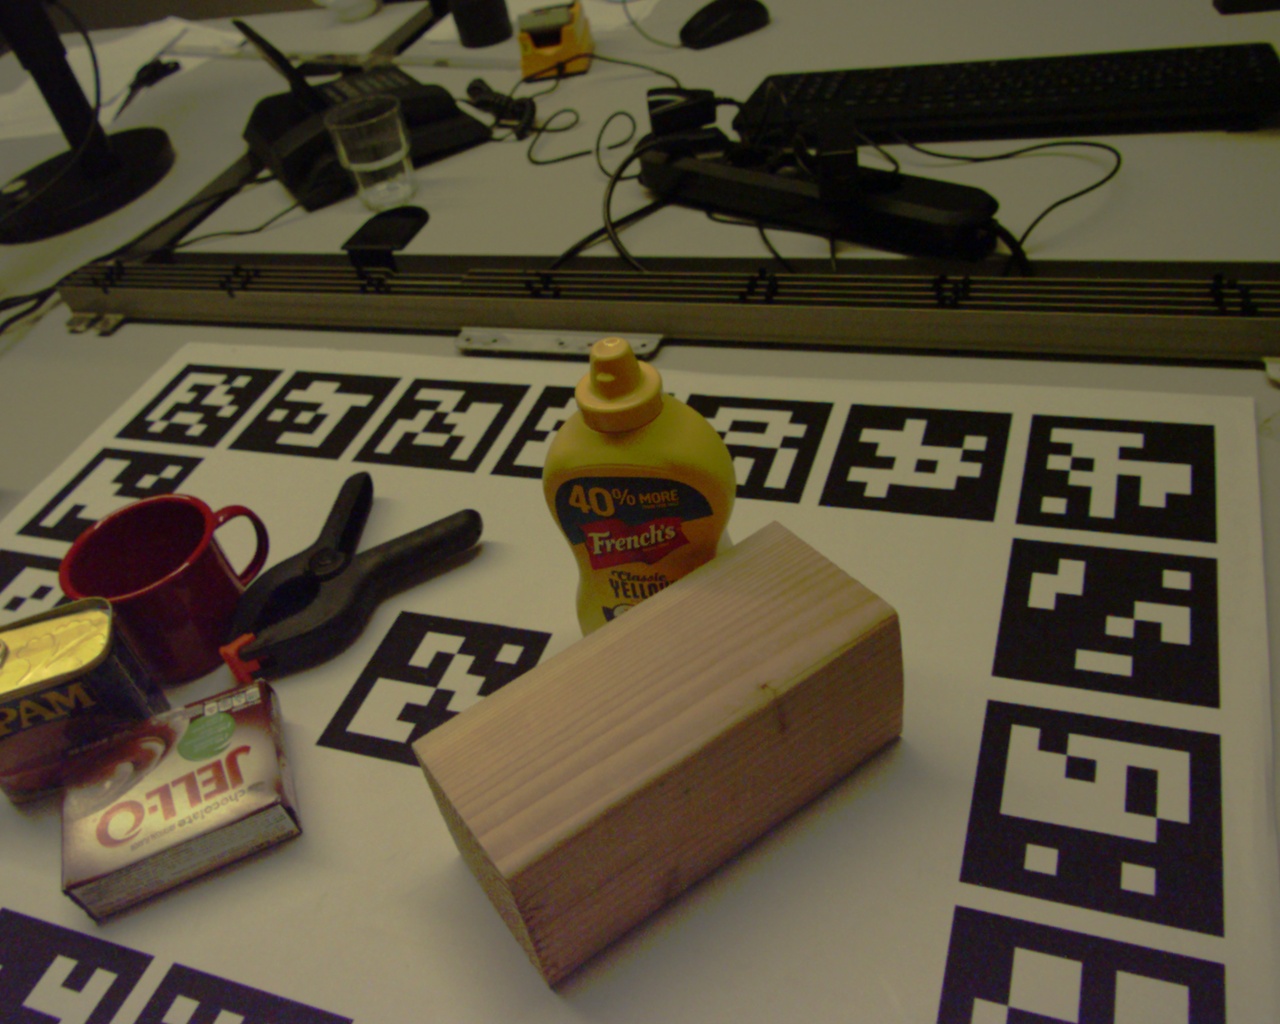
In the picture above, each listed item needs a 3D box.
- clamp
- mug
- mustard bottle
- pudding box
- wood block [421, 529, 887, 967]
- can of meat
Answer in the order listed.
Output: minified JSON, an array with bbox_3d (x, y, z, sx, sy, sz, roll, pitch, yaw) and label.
[{"bbox_3d":[-0.190,0.035,0.738,0.123,0.036,0.164,23,56,33],"label":"clamp"},{"bbox_3d":[-0.280,0.052,0.739,0.094,0.081,0.116,25,56,36],"label":"mug"},{"bbox_3d":[-0.004,-0.007,0.605,0.097,0.190,0.058,1,44,18],"label":"mustard bottle"},{"bbox_3d":[-0.239,0.148,0.622,0.113,0.038,0.091,-21,42,-9],"label":"pudding box"},{"bbox_3d":[0.012,0.108,0.558,0.205,0.090,0.091,-30,42,-19],"label":"wood block"},{"bbox_3d":[-0.329,0.104,0.654,0.102,0.083,0.058,-16,43,-1],"label":"can of meat"}]
